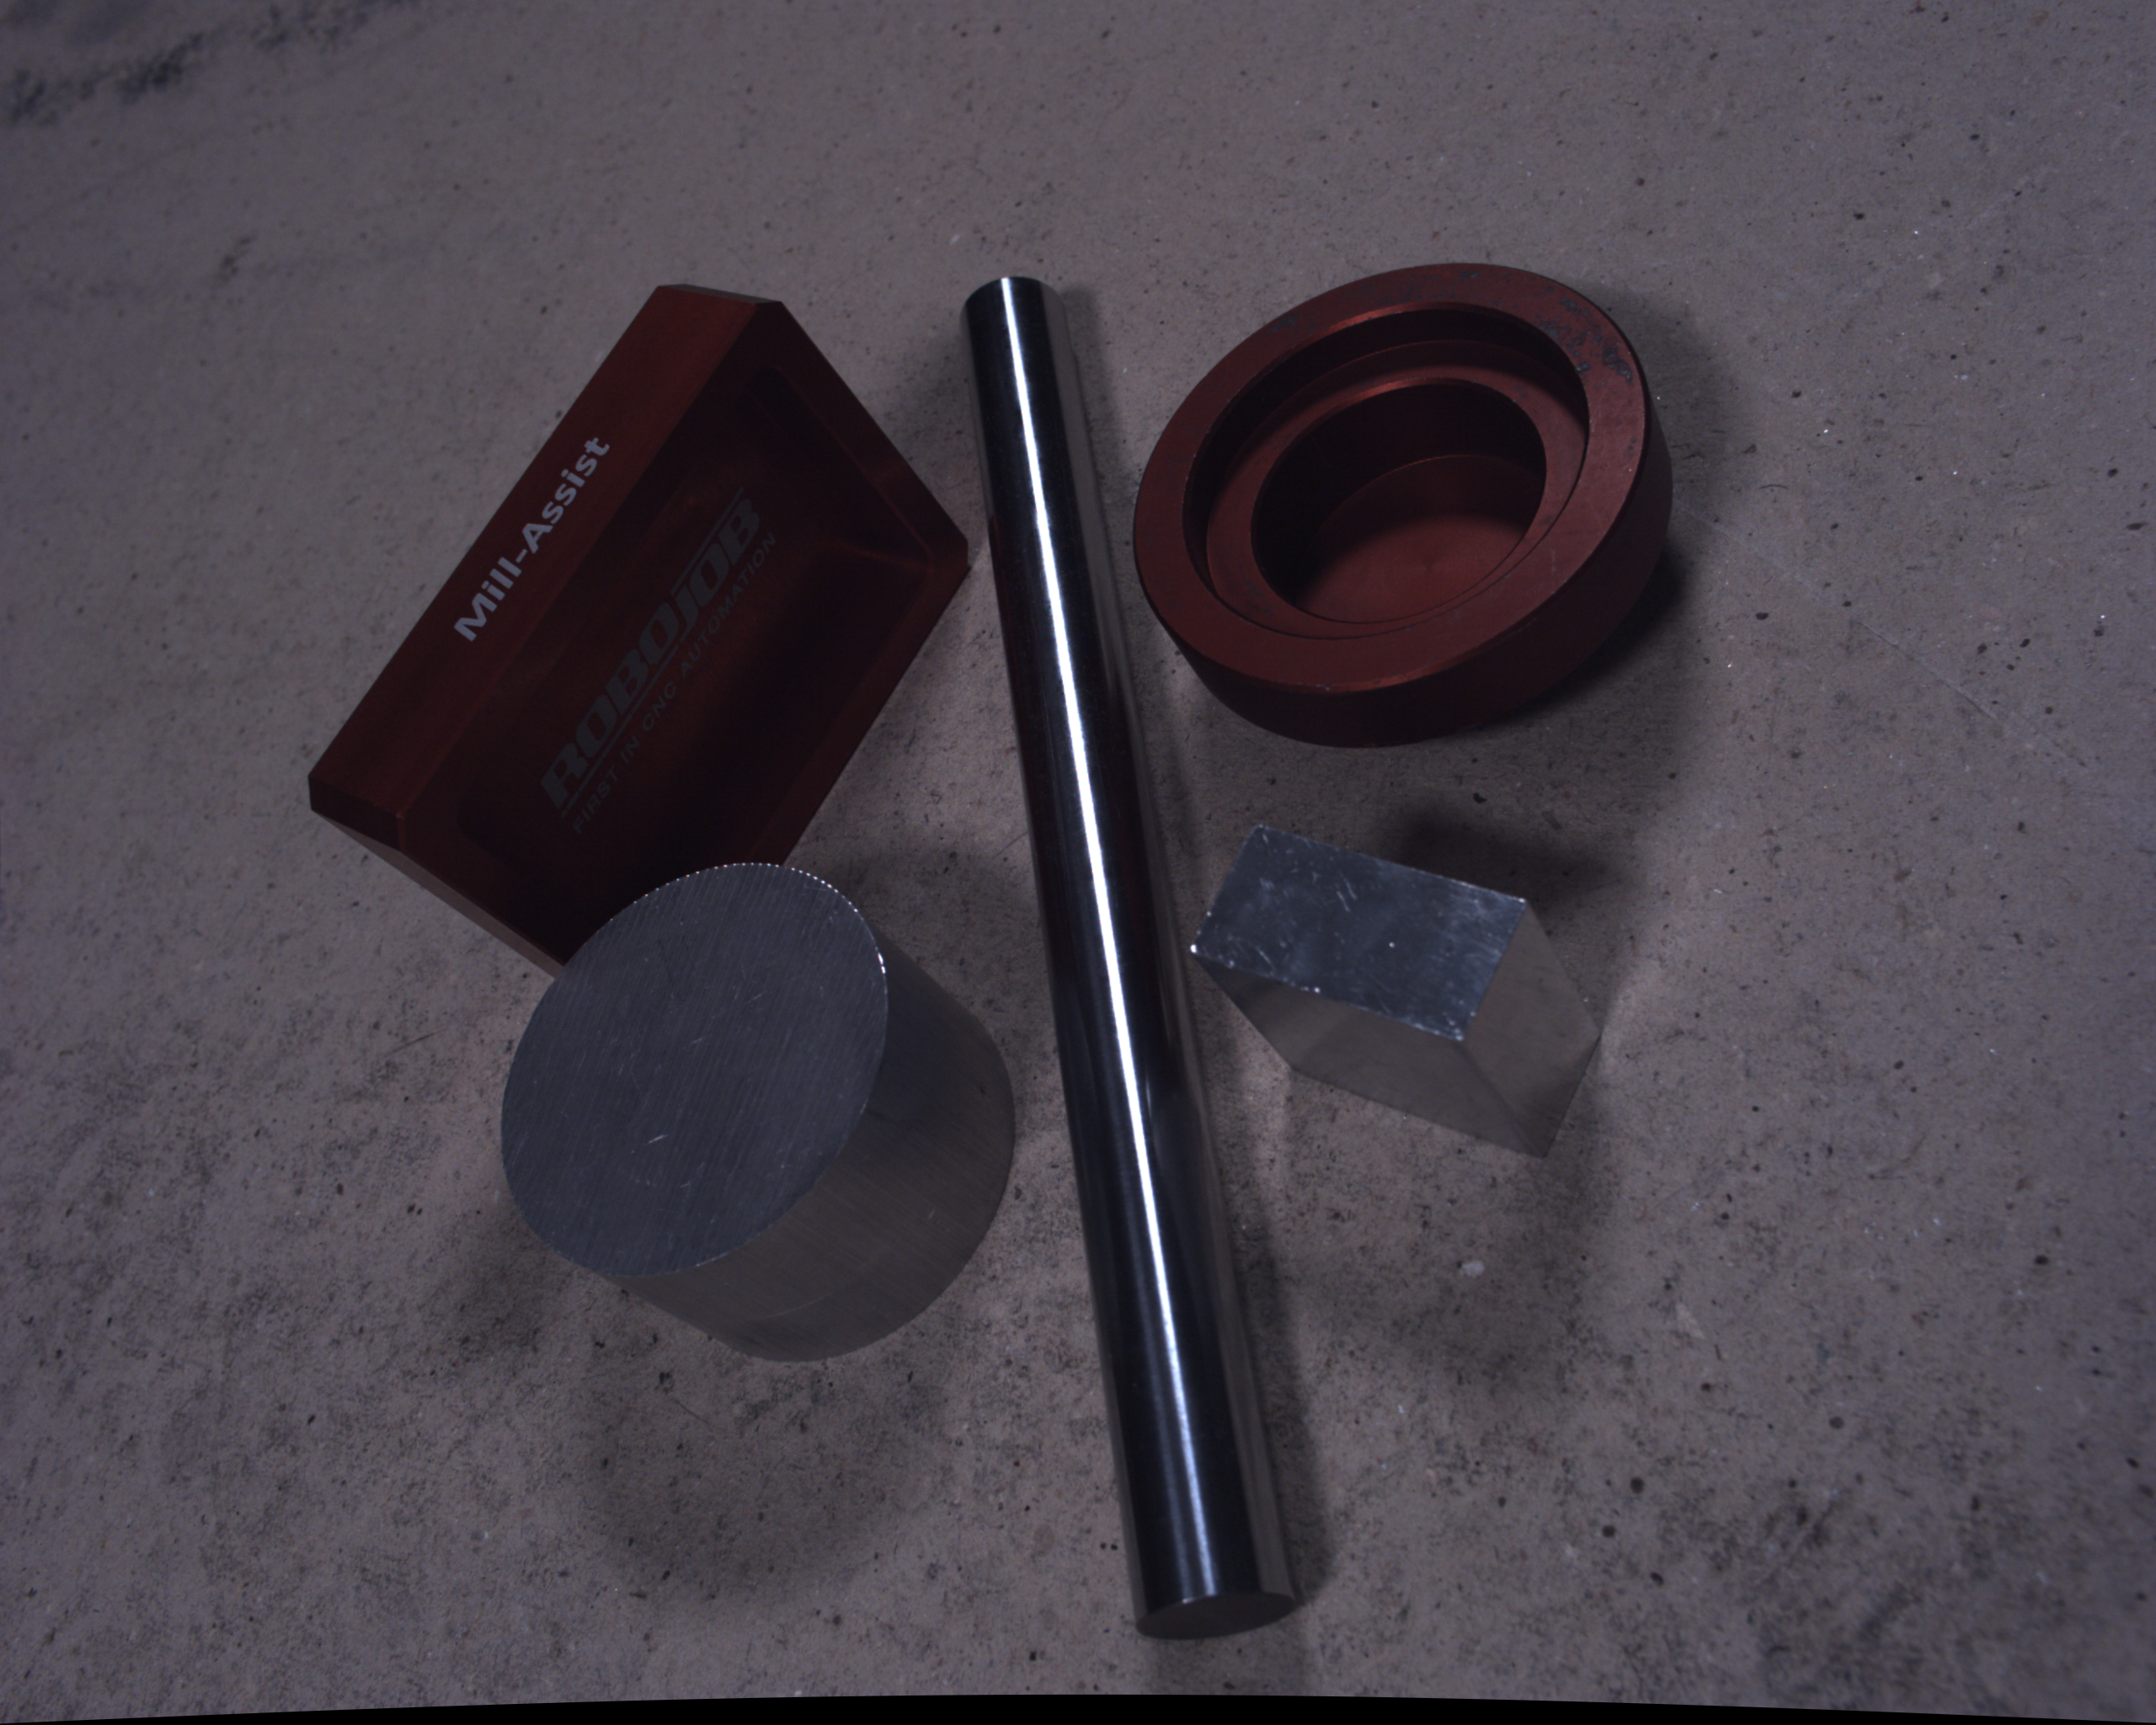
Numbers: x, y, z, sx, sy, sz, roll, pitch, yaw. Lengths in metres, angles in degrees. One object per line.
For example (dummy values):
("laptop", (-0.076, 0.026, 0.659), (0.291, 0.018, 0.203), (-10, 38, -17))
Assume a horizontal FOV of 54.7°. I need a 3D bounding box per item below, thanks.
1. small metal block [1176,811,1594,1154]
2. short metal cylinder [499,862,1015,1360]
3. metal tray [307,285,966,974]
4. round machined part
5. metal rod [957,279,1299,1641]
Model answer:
("small metal block", (0.052, 0.020, 0.345), (0.050, 0.050, 0.025), (18, 71, 34))
("short metal cylinder", (-0.059, 0.047, 0.390), (0.080, 0.050, 0.080), (-13, 56, 20))
("metal tray", (-0.085, -0.041, 0.432), (0.030, 0.090, 0.130), (20, 72, 35))
("round machined part", (0.063, -0.063, 0.399), (0.098, 0.042, 0.098), (-13, 56, 20))
("metal rod", (0.003, -0.005, 0.407), (0.025, 0.025, 0.299), (-20, 54, 16))
